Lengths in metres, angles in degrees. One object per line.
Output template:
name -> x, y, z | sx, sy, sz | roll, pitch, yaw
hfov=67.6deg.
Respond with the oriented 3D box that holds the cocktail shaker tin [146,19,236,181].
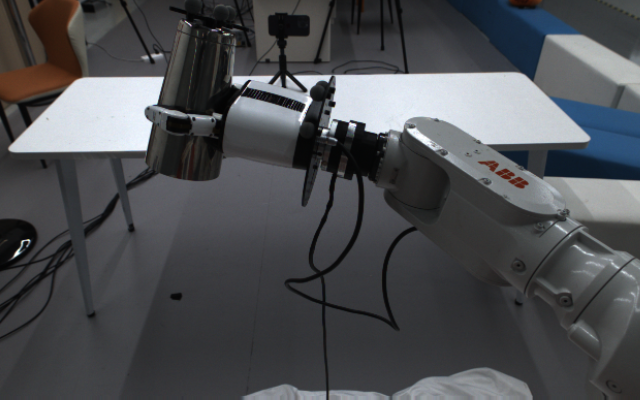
cocktail shaker tin -> -0.148, -0.118, 0.575 | 0.093, 0.170, 0.093 | 14, 20, -5
